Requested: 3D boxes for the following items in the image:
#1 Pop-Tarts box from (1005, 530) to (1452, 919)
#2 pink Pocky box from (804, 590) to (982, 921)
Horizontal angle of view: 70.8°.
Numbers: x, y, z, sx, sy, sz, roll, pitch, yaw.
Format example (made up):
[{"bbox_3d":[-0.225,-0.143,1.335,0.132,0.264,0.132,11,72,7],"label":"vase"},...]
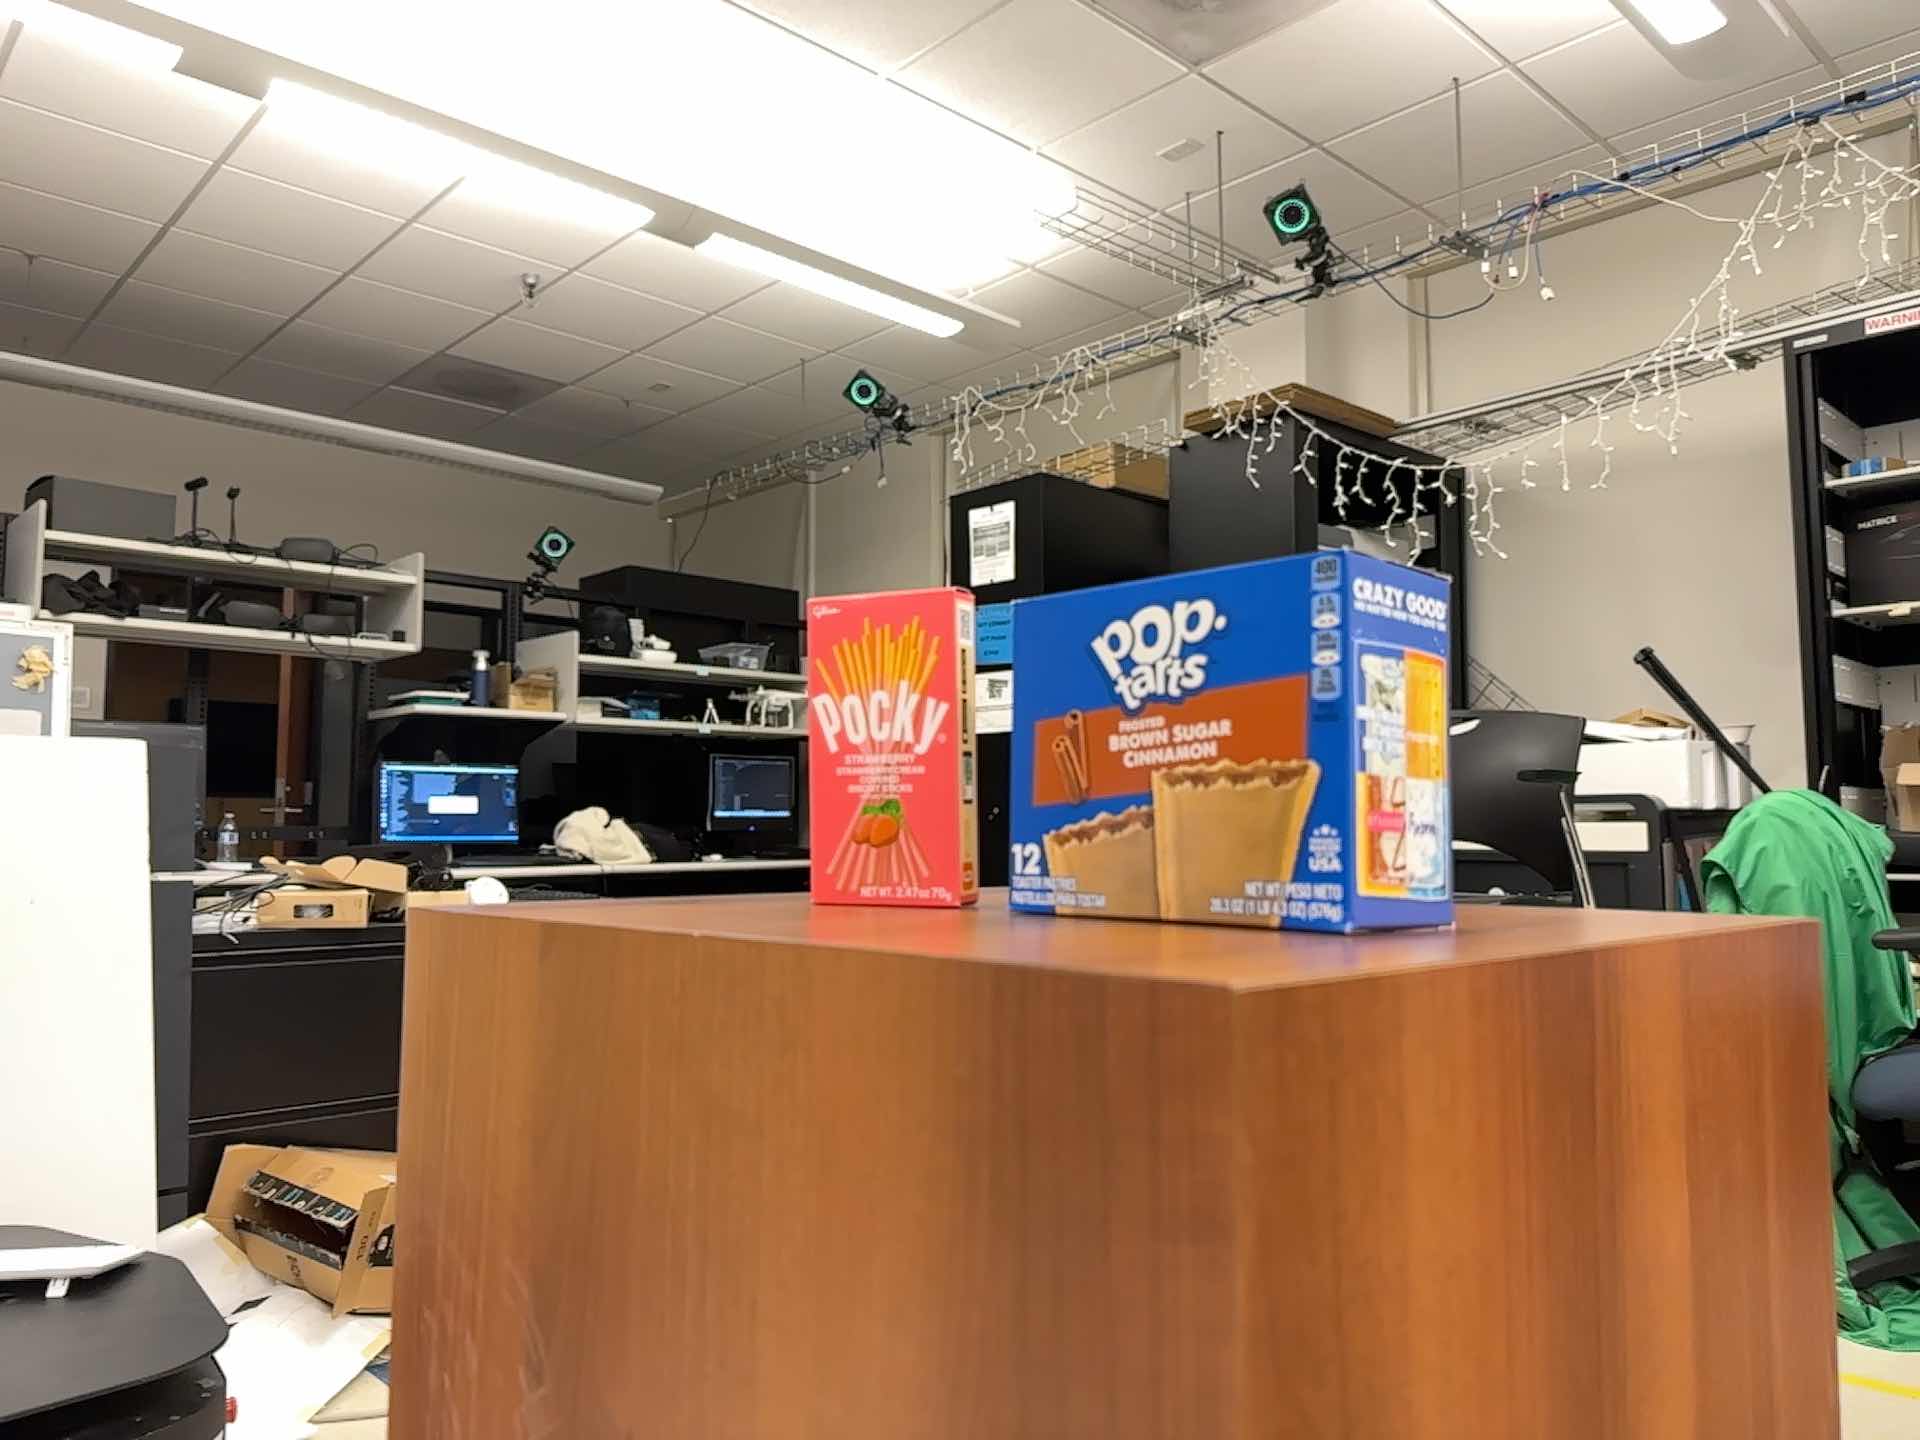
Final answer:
[{"bbox_3d":[0.105,0.009,0.560,0.075,0.135,0.161,8,-9,-43],"label":"Pop-Tarts box"},{"bbox_3d":[-0.033,0.018,0.651,0.084,0.155,0.029,-3,-6,25],"label":"pink Pocky box"}]
